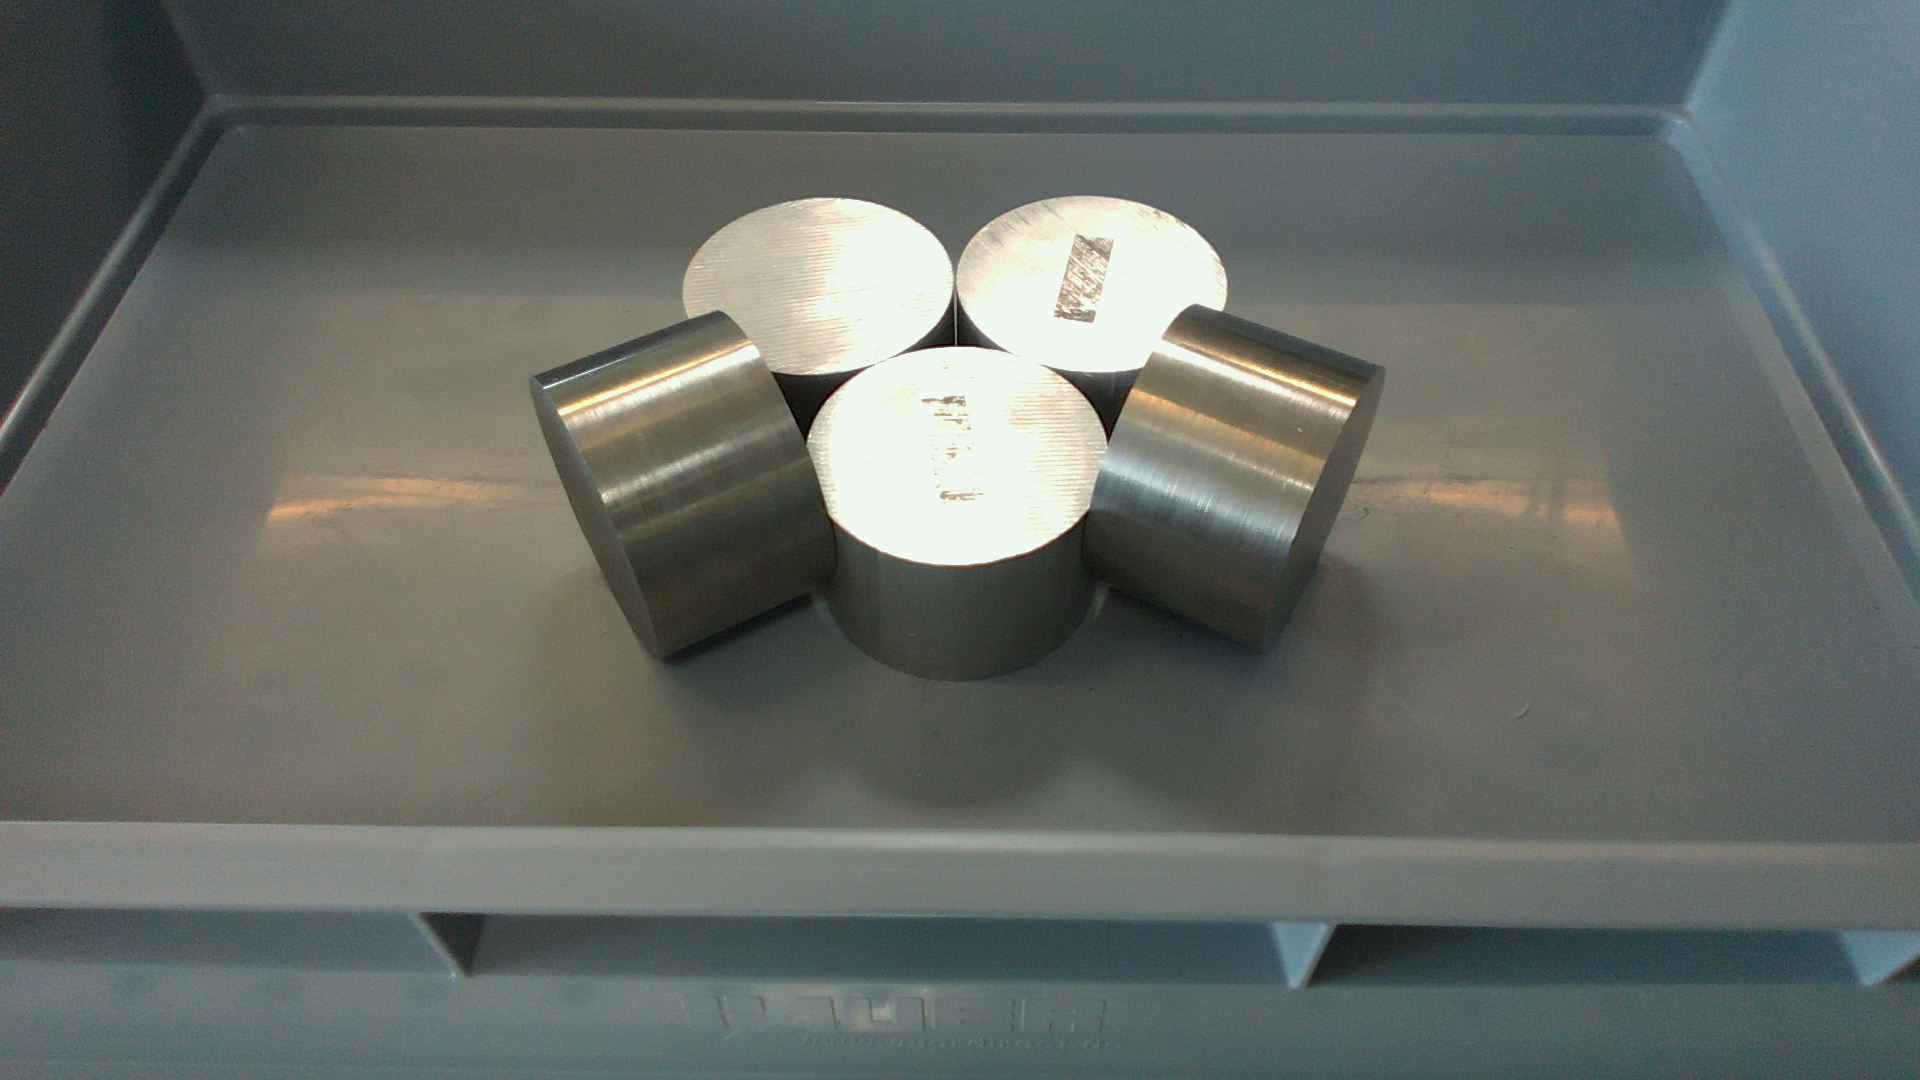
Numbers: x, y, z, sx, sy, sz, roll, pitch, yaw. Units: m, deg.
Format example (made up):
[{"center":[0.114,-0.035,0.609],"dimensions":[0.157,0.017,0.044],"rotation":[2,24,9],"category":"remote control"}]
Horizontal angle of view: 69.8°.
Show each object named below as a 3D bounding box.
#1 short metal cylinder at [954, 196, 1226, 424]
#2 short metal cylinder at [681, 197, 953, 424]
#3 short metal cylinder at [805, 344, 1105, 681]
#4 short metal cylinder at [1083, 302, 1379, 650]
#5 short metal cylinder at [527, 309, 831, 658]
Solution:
[{"center":[0.038,-0.062,0.426],"dimensions":[0.080,0.050,0.080],"rotation":[0,50,0],"category":"short metal cylinder"},{"center":[-0.042,-0.061,0.425],"dimensions":[0.080,0.050,0.080],"rotation":[0,50,0],"category":"short metal cylinder"},{"center":[-0.001,-0.008,0.381],"dimensions":[0.080,0.050,0.080],"rotation":[0,50,0],"category":"short metal cylinder"},{"center":[0.073,-0.017,0.368],"dimensions":[0.050,0.080,0.080],"rotation":[23,54,19],"category":"short metal cylinder"},{"center":[-0.075,-0.015,0.367],"dimensions":[0.050,0.080,0.080],"rotation":[-24,54,-19],"category":"short metal cylinder"}]
